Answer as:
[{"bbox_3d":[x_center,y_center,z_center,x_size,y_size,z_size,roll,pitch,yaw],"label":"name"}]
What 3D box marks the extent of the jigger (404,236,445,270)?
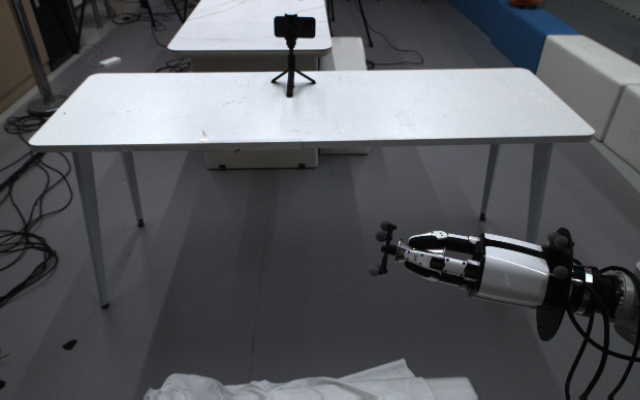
[{"bbox_3d":[0.156,0.080,0.721,0.071,0.043,0.043,10,35,16],"label":"jigger"}]
